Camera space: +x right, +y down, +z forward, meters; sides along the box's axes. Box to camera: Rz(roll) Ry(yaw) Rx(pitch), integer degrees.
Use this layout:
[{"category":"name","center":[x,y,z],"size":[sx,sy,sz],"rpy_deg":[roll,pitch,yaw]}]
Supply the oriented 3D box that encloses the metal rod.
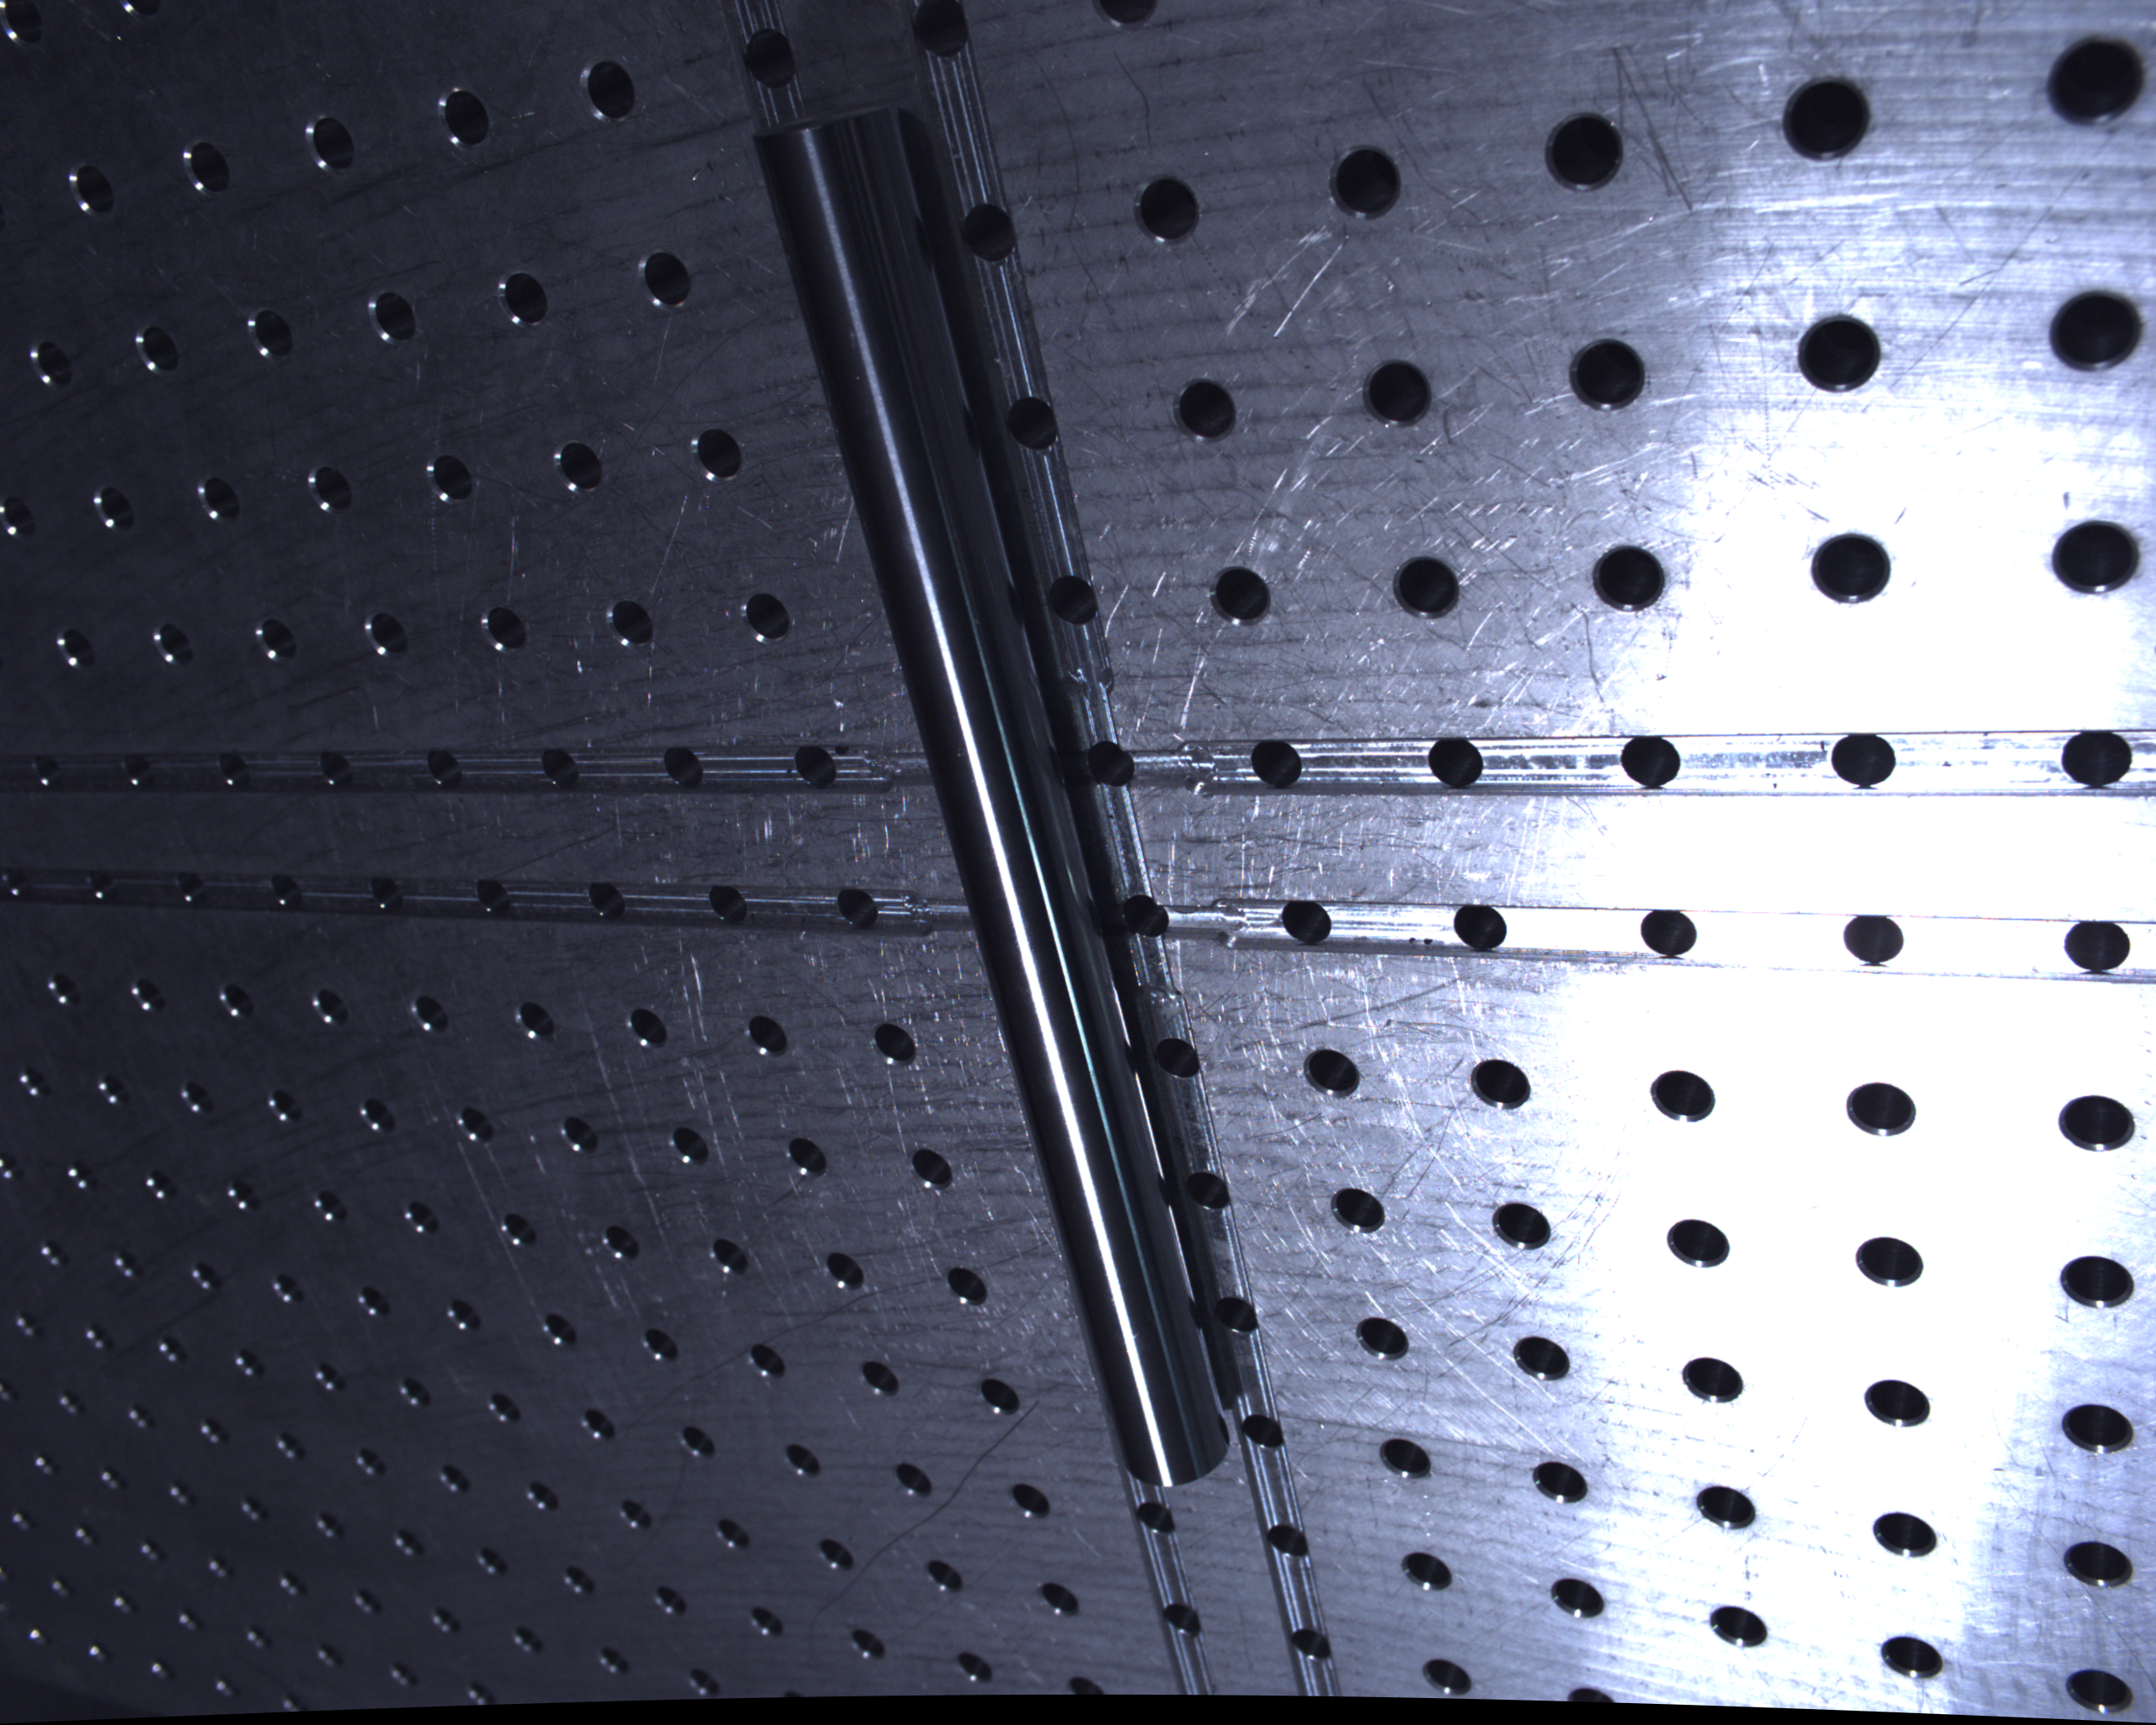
[{"category":"metal rod","center":[-0.010,0.004,0.417],"size":[0.025,0.025,0.298],"rpy_deg":[0,119,28]}]
